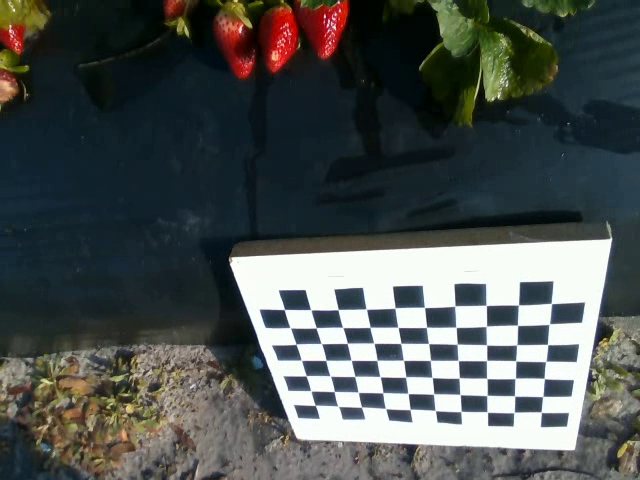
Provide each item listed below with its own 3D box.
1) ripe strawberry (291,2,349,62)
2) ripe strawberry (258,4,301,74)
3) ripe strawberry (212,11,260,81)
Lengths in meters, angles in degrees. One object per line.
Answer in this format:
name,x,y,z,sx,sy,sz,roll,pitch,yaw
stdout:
ripe strawberry,0.002,-0.125,0.344,0.035,0.041,0.034,-6,-14,19
ripe strawberry,-0.026,-0.121,0.349,0.031,0.039,0.036,6,-24,10
ripe strawberry,-0.052,-0.124,0.362,0.032,0.046,0.023,-2,23,16
